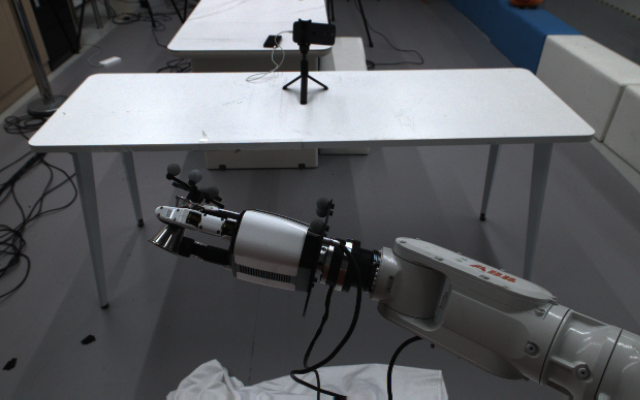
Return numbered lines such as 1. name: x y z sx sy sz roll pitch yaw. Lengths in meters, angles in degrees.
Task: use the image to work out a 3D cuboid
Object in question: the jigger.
1. jigger: -0.186 0.032 0.626 0.043 0.043 0.071 20 73 23
